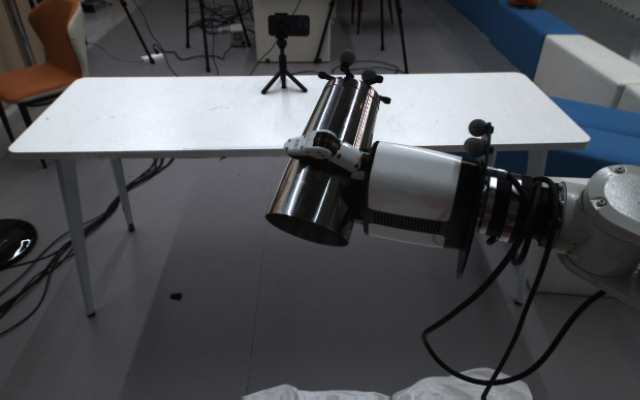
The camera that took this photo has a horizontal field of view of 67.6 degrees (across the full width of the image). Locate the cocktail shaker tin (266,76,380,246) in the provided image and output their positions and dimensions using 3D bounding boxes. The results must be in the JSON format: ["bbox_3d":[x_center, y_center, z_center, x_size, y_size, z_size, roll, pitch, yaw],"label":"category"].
[{"bbox_3d":[0.013,-0.044,0.529,0.093,0.093,0.170,14,73,16],"label":"cocktail shaker tin"}]
